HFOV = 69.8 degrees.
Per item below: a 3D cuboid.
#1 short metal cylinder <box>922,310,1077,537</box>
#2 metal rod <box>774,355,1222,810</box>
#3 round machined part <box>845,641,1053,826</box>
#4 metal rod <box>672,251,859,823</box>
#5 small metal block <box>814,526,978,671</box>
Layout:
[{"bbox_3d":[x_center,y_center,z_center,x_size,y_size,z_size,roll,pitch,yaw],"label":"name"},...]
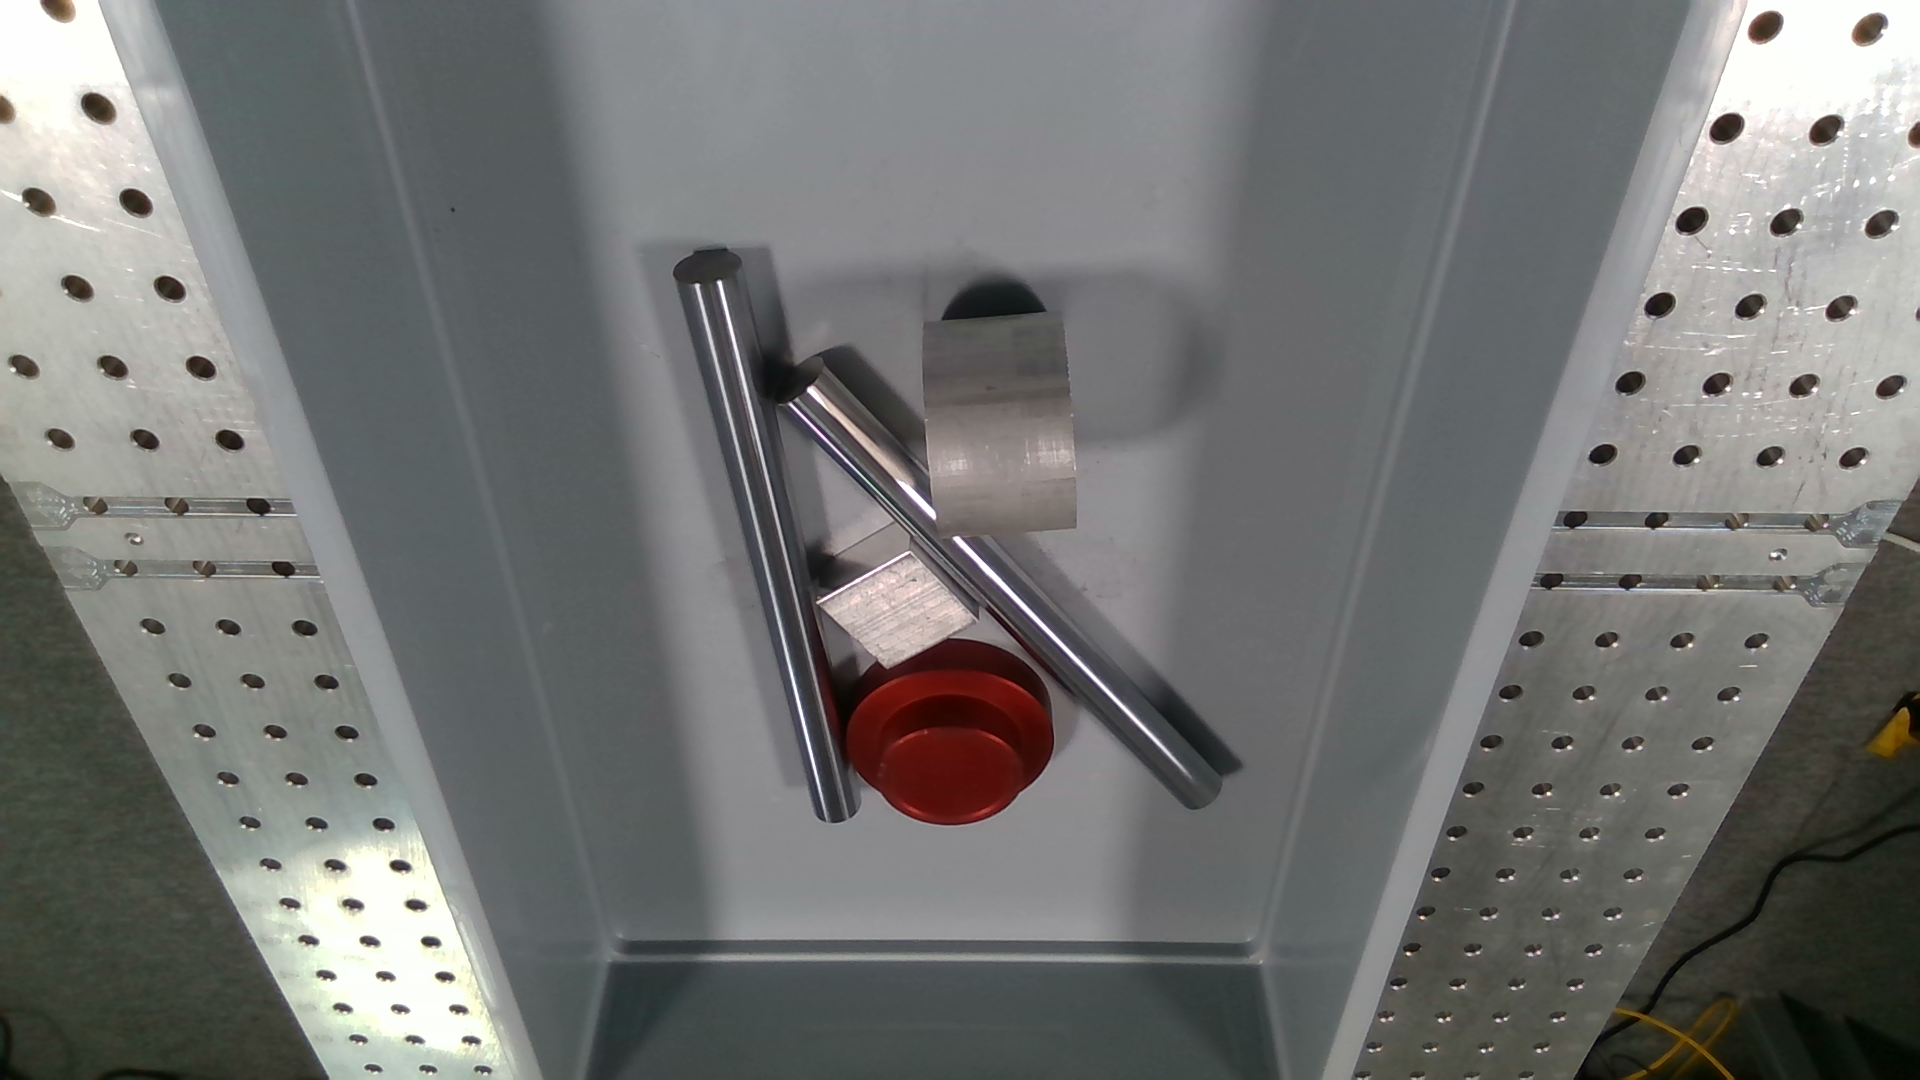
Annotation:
[{"bbox_3d":[0.015,-0.043,0.507,0.050,0.080,0.080,-4,130,3],"label":"short metal cylinder"},{"bbox_3d":[0.029,0.030,0.603,0.025,0.025,0.301,-30,124,23],"label":"metal rod"},{"bbox_3d":[-0.005,0.097,0.646,0.098,0.042,0.098,0,130,0],"label":"round machined part"},{"bbox_3d":[-0.077,0.017,0.592,0.025,0.025,0.301,-4,130,4],"label":"metal rod"},{"bbox_3d":[-0.027,0.023,0.597,0.050,0.025,0.050,-29,124,22],"label":"small metal block"}]
